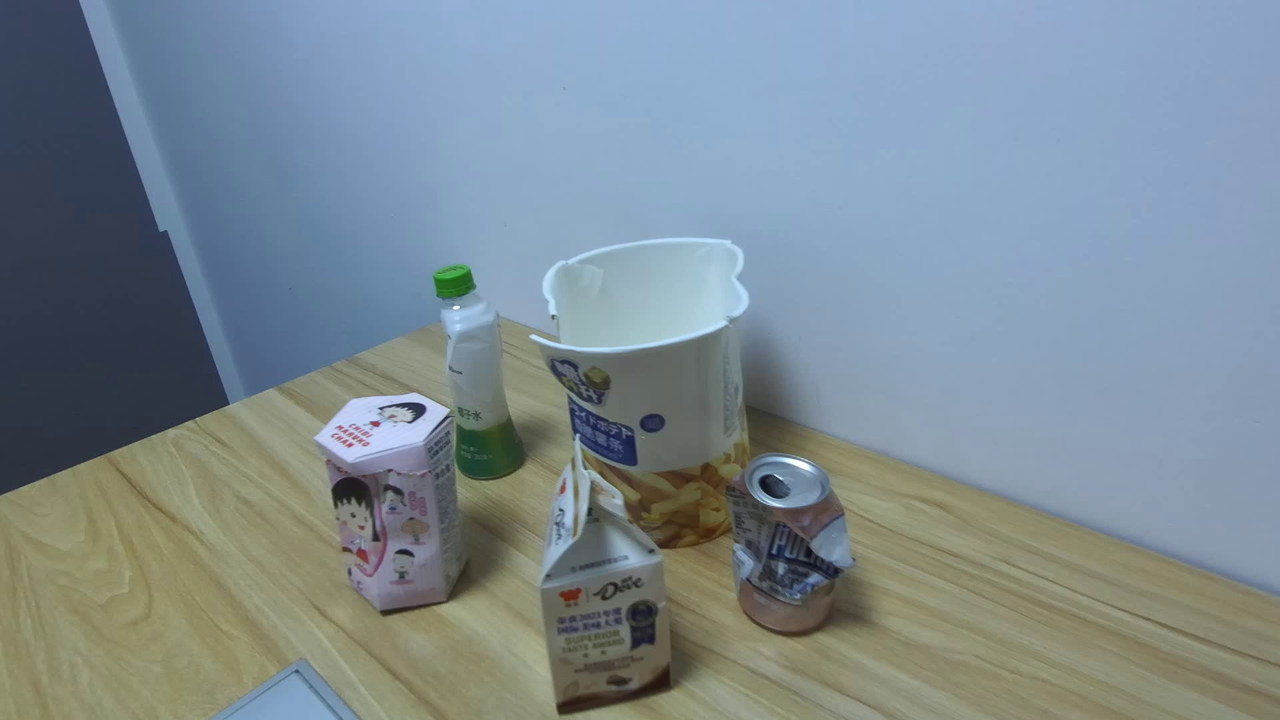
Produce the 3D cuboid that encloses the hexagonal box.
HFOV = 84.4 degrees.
[{"bbox_3d":[-0.173,0.100,0.509,0.090,0.134,0.091,-4,26,-9],"label":"hexagonal box"}]

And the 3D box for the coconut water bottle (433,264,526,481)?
[{"bbox_3d":[-0.145,0.011,0.622,0.069,0.187,0.069,-3,26,2],"label":"coconut water bottle"}]

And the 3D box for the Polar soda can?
[{"bbox_3d":[0.097,0.121,0.464,0.074,0.114,0.070,-6,34,2],"label":"Polar soda can"}]

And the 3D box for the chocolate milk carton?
[{"bbox_3d":[-0.025,0.124,0.426,0.073,0.155,0.084,-8,27,-8],"label":"chocolate milk carton"}]

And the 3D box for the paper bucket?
[{"bbox_3d":[0.014,0.027,0.557,0.146,0.197,0.202,-4,27,3],"label":"paper bucket"}]
